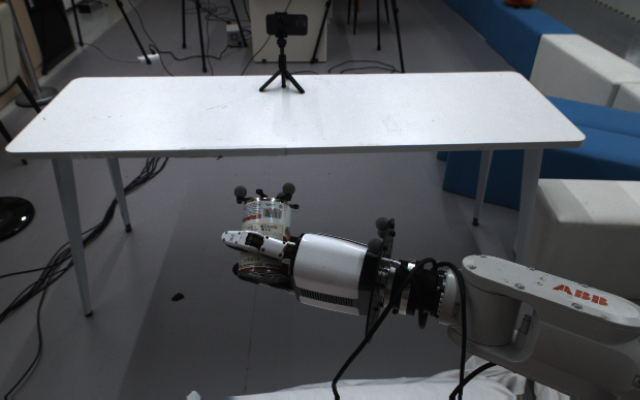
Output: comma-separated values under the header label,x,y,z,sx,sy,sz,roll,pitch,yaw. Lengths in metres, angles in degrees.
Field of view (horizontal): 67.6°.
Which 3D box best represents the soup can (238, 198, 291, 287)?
label,x,y,z,sx,sy,sz,roll,pitch,yaw
soup can,-0.072,0.056,0.648,0.067,0.067,0.101,2,68,-1
